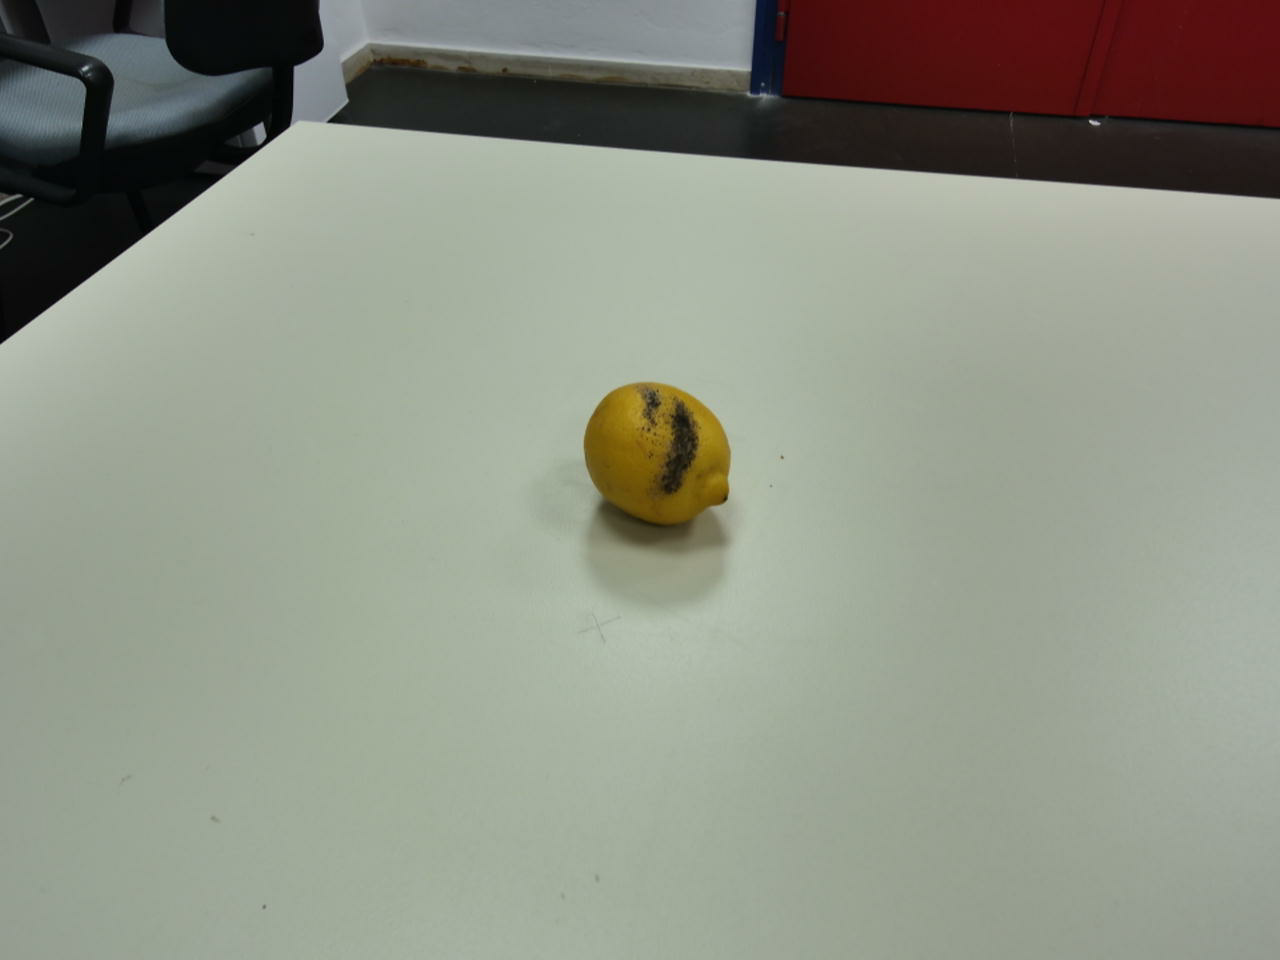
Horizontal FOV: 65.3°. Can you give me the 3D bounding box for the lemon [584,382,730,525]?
[{"bbox_3d":[0.008,-0.011,0.417,0.061,0.056,0.058,5,38,5],"label":"lemon"}]
